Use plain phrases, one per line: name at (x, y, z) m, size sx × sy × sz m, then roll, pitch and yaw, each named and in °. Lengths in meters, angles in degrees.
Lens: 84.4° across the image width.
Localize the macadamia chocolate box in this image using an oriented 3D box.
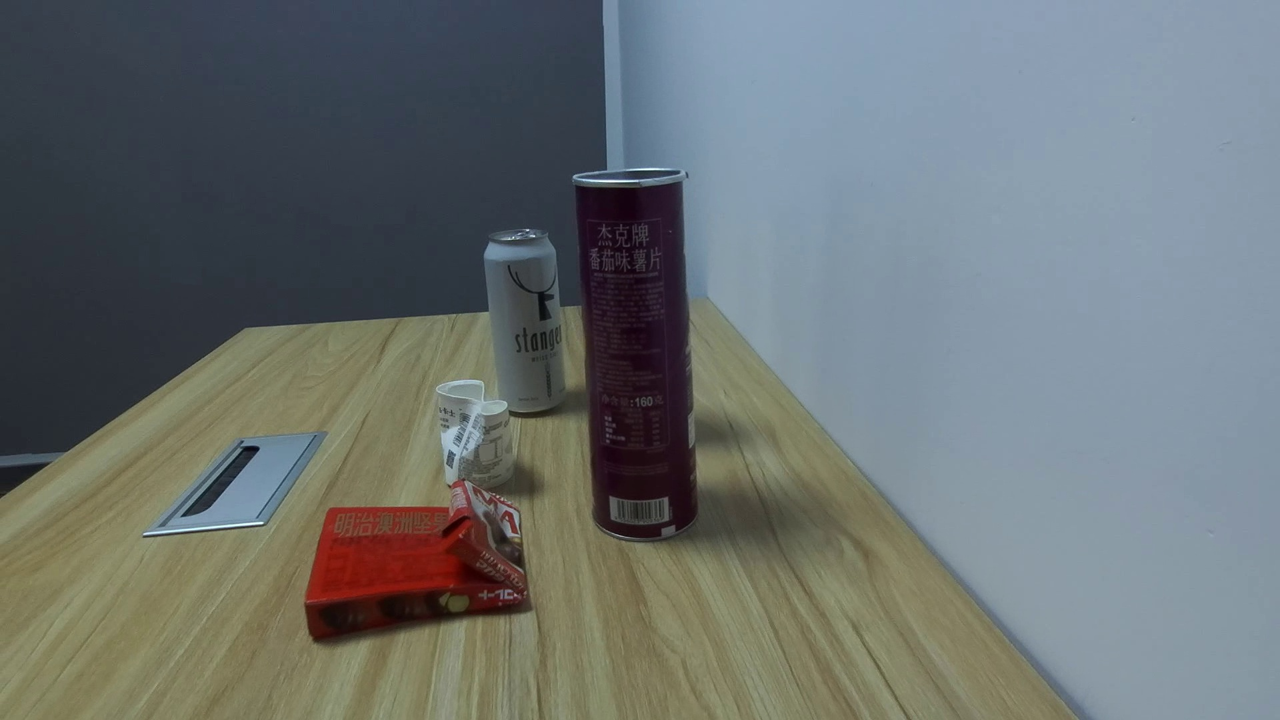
macadamia chocolate box at (-0.137, 0.118, 0.446) m, size 0.127 × 0.056 × 0.112 m, roll -8°, pitch 5°, yaw -12°

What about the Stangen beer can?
Stangen beer can at (-0.108, -0.034, 0.677) m, size 0.067 × 0.171 × 0.067 m, roll -2°, pitch 15°, yaw 1°

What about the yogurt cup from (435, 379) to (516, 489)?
yogurt cup at (-0.130, 0.059, 0.555) m, size 0.075 × 0.071 × 0.054 m, roll 5°, pitch 22°, yaw 21°

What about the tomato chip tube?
tomato chip tube at (0.000, -0.002, 0.465) m, size 0.080 × 0.234 × 0.076 m, roll -17°, pitch 24°, yaw -37°
